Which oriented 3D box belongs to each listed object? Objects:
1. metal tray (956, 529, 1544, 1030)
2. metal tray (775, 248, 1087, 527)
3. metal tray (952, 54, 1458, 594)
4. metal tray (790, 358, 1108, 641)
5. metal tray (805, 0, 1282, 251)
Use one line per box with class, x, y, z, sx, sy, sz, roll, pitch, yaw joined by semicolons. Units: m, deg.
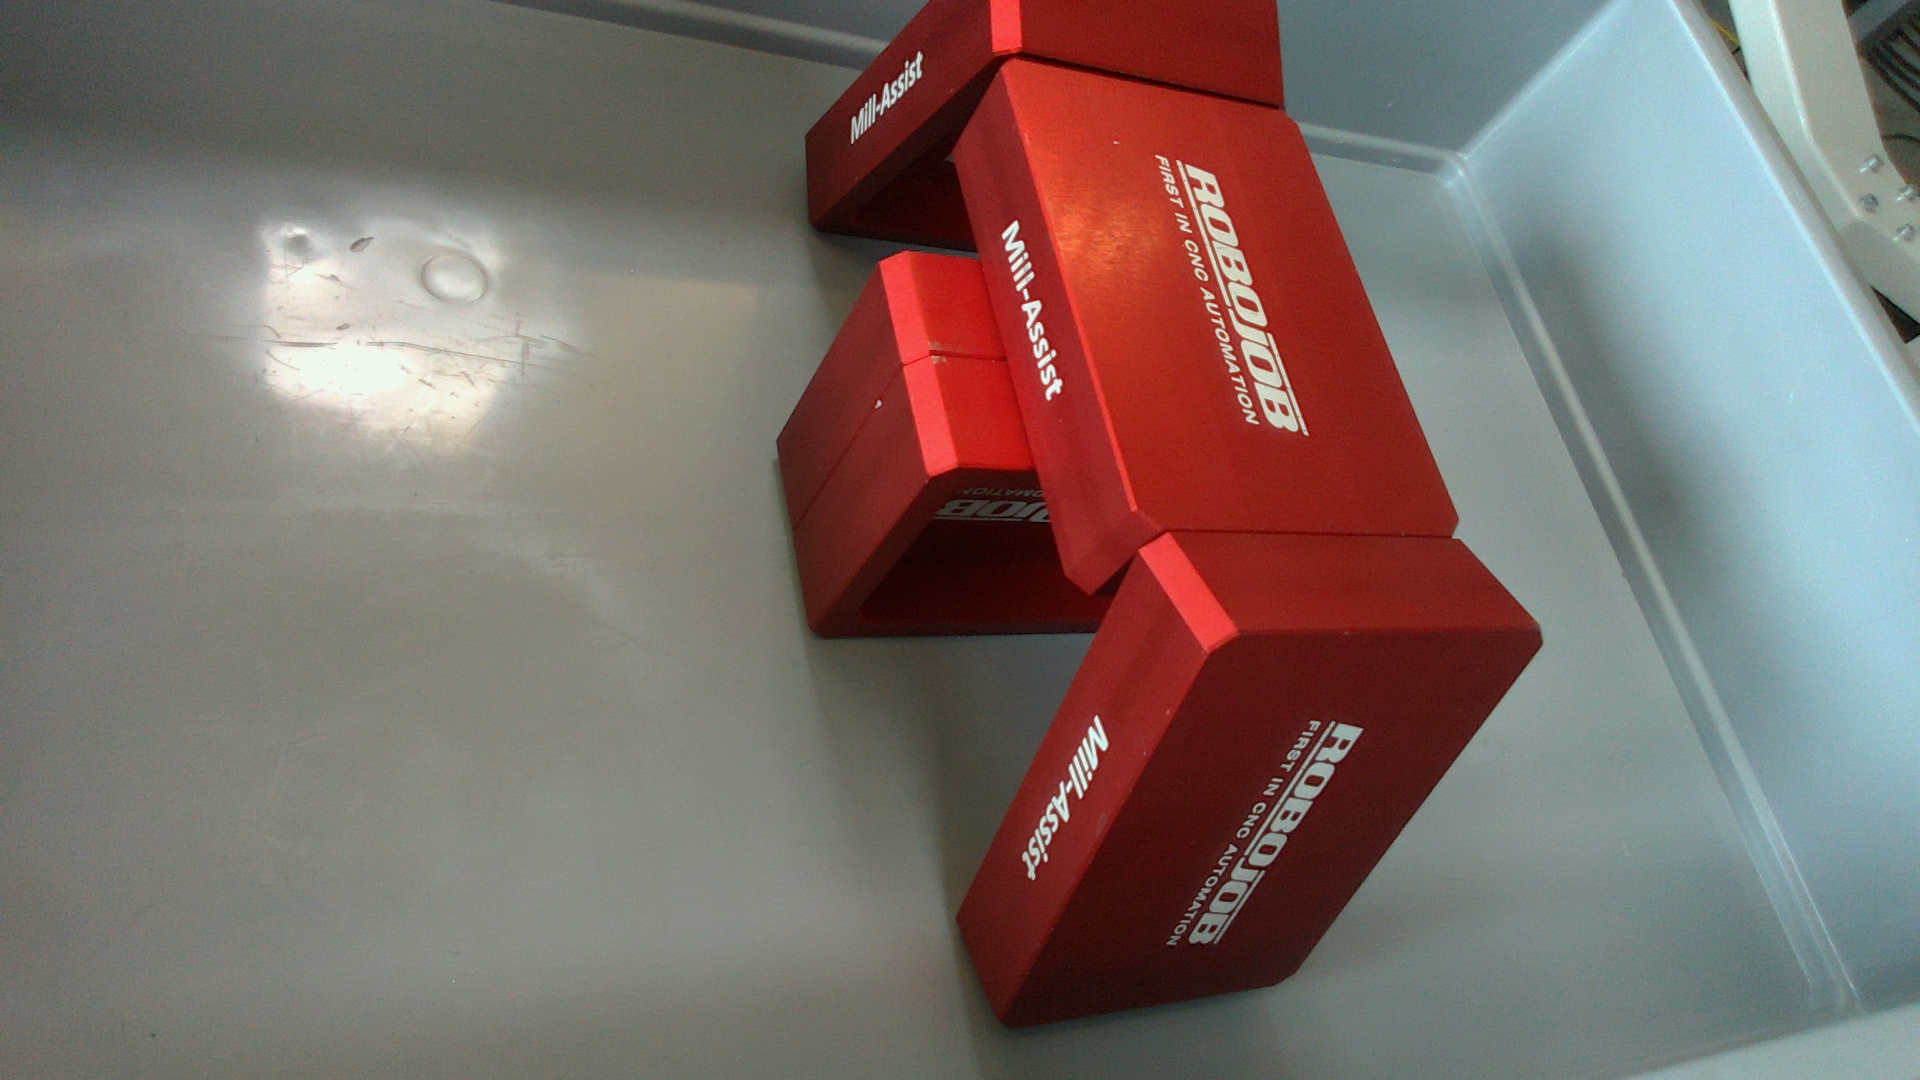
metal tray;0.062;0.057;0.317;0.090;0.130;0.030;1;39;-28
metal tray;0.025;-0.034;0.381;0.130;0.090;0.030;1;61;-28
metal tray;0.056;-0.052;0.331;0.090;0.030;0.130;1;61;-28
metal tray;0.031;-0.006;0.368;0.130;0.090;0.030;1;61;-28
metal tray;0.019;-0.122;0.405;0.090;0.130;0.030;1;81;-28
